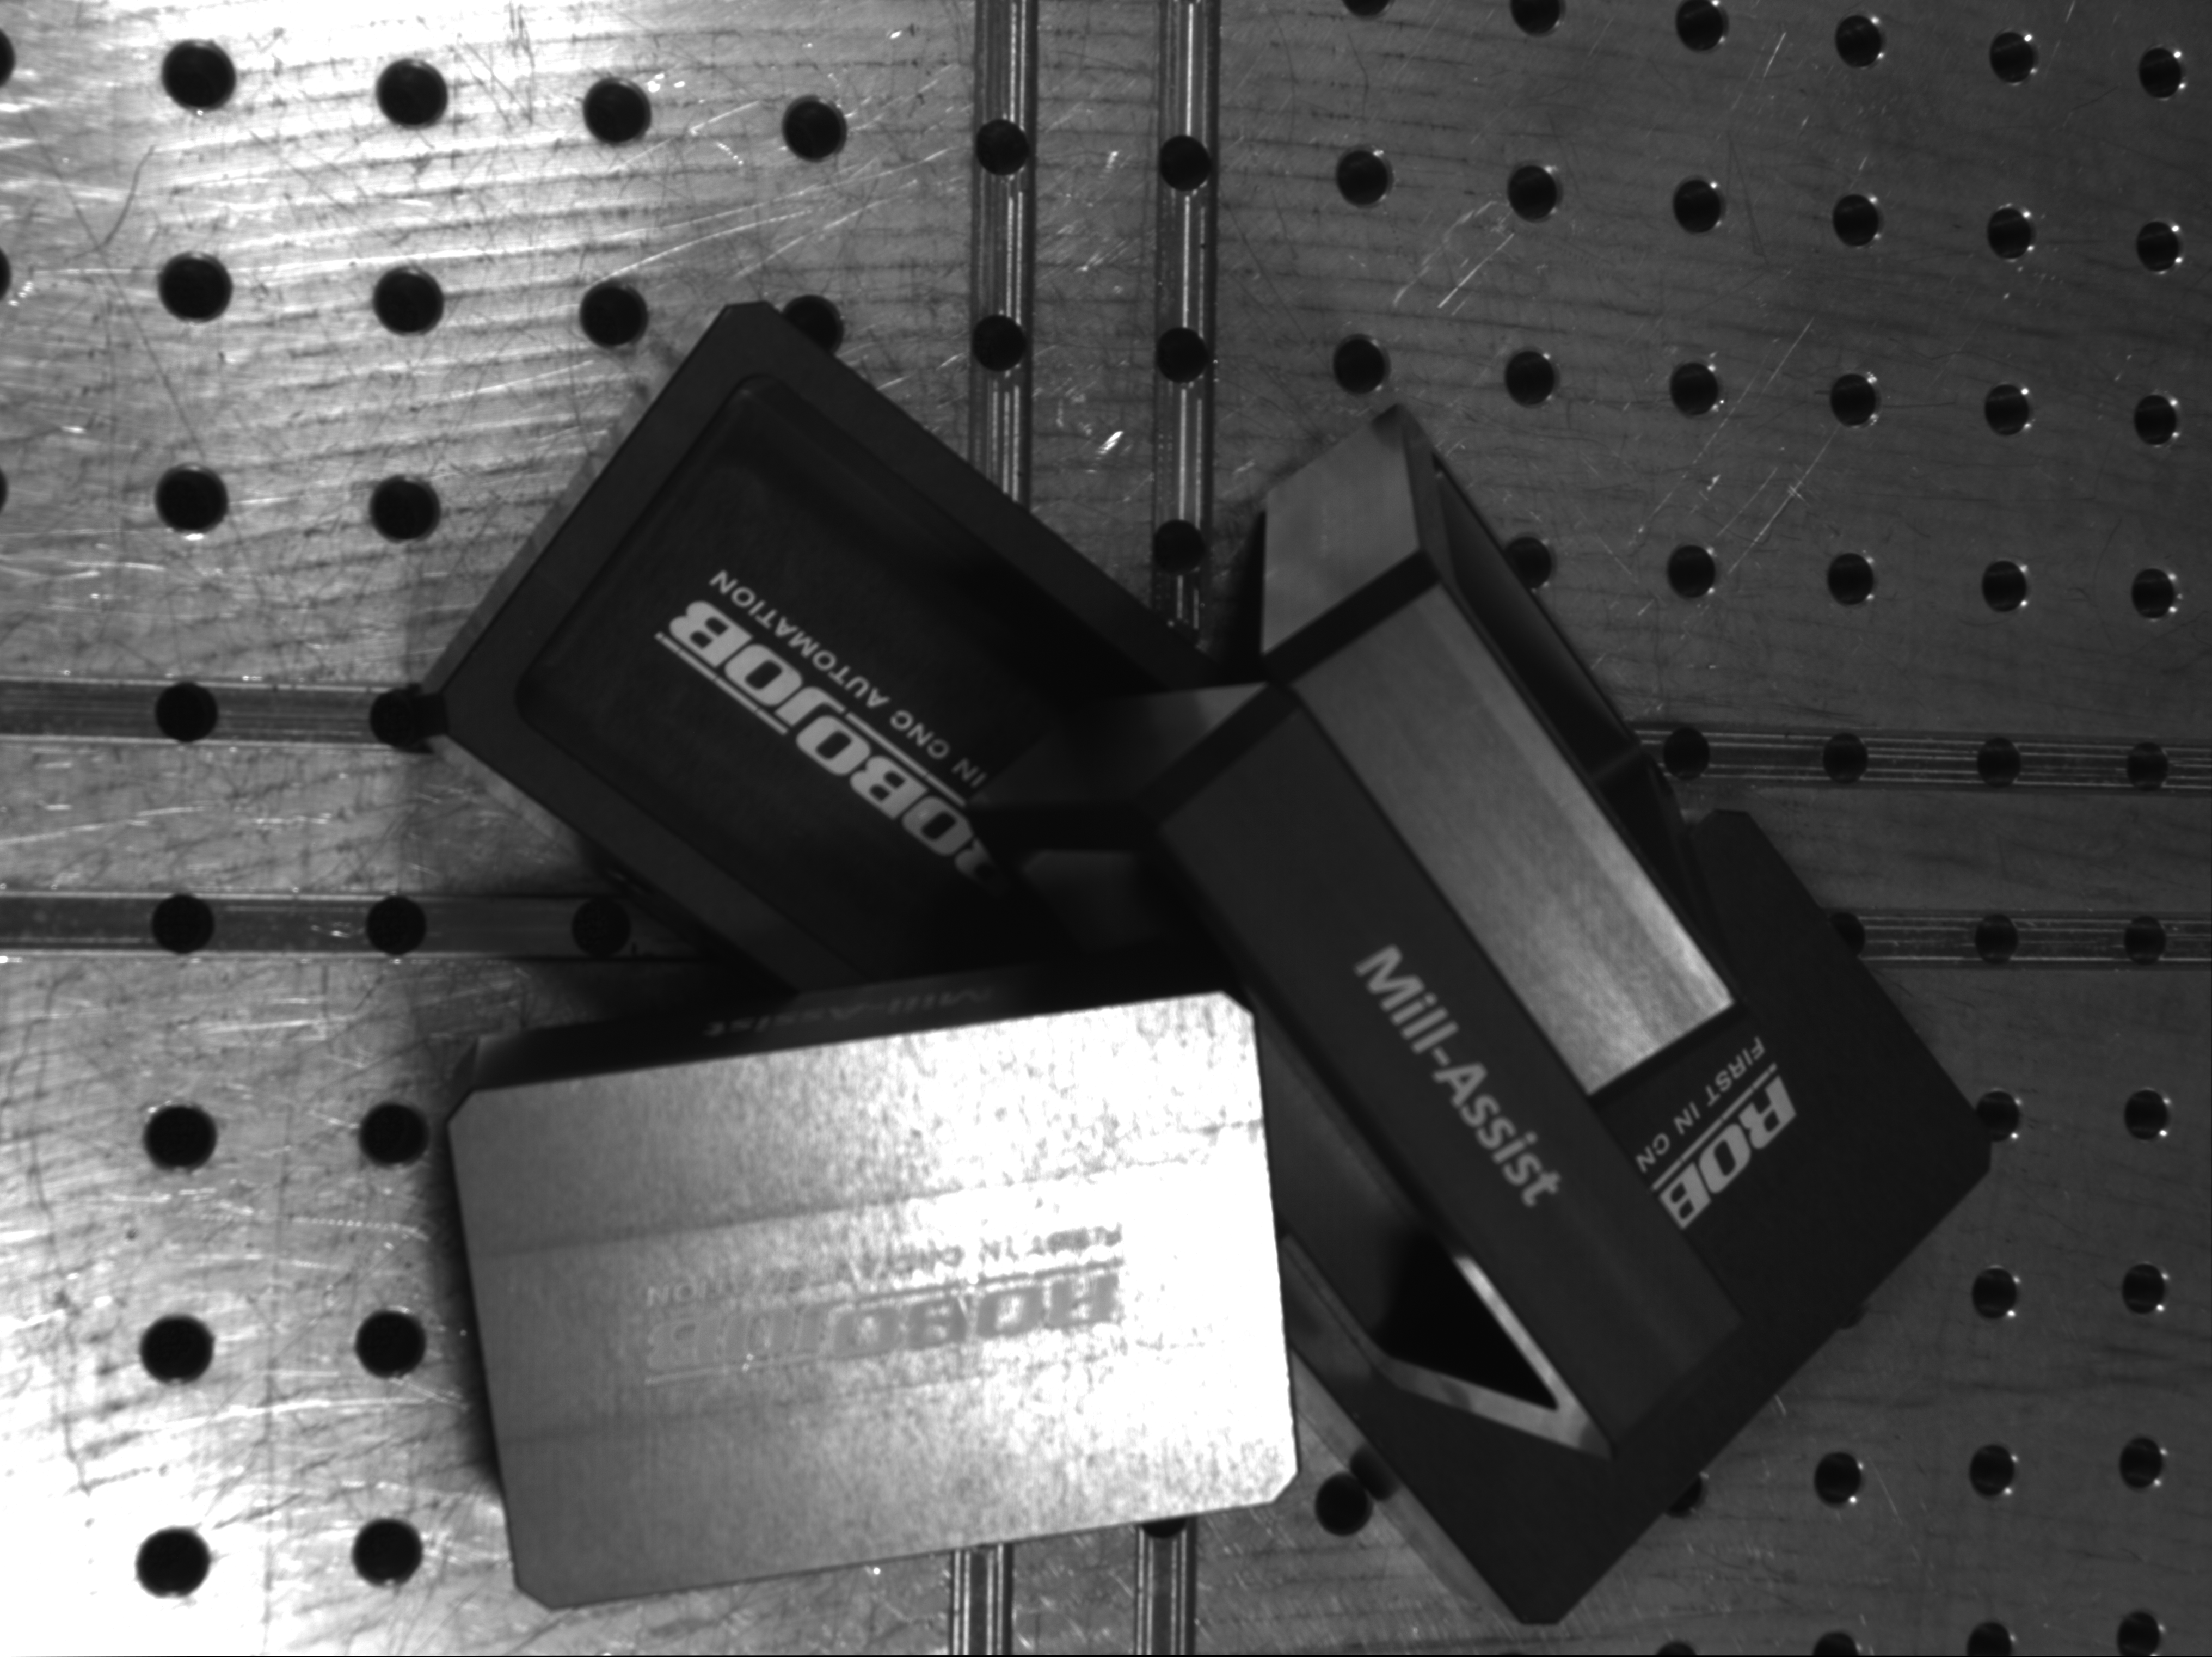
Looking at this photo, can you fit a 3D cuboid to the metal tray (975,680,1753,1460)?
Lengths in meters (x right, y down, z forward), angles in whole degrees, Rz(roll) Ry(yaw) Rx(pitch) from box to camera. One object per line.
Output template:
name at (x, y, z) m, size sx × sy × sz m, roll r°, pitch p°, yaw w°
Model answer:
metal tray at (0.040, 0.038, 0.593) m, size 0.030 × 0.090 × 0.130 m, roll -40°, pitch 103°, yaw -15°

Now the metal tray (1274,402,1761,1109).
metal tray at (0.066, -0.017, 0.615) m, size 0.030 × 0.130 × 0.090 m, roll -34°, pitch 102°, yaw 12°

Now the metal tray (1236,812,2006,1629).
metal tray at (0.094, 0.070, 0.676) m, size 0.130 × 0.030 × 0.090 m, roll -43°, pitch 103°, yaw -15°

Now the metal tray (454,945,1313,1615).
metal tray at (-0.036, 0.074, 0.605) m, size 0.130 × 0.030 × 0.090 m, roll -7°, pitch 103°, yaw -5°

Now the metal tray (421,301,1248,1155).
metal tray at (-0.039, -0.016, 0.629) m, size 0.130 × 0.030 × 0.090 m, roll 38°, pitch 78°, yaw -16°
